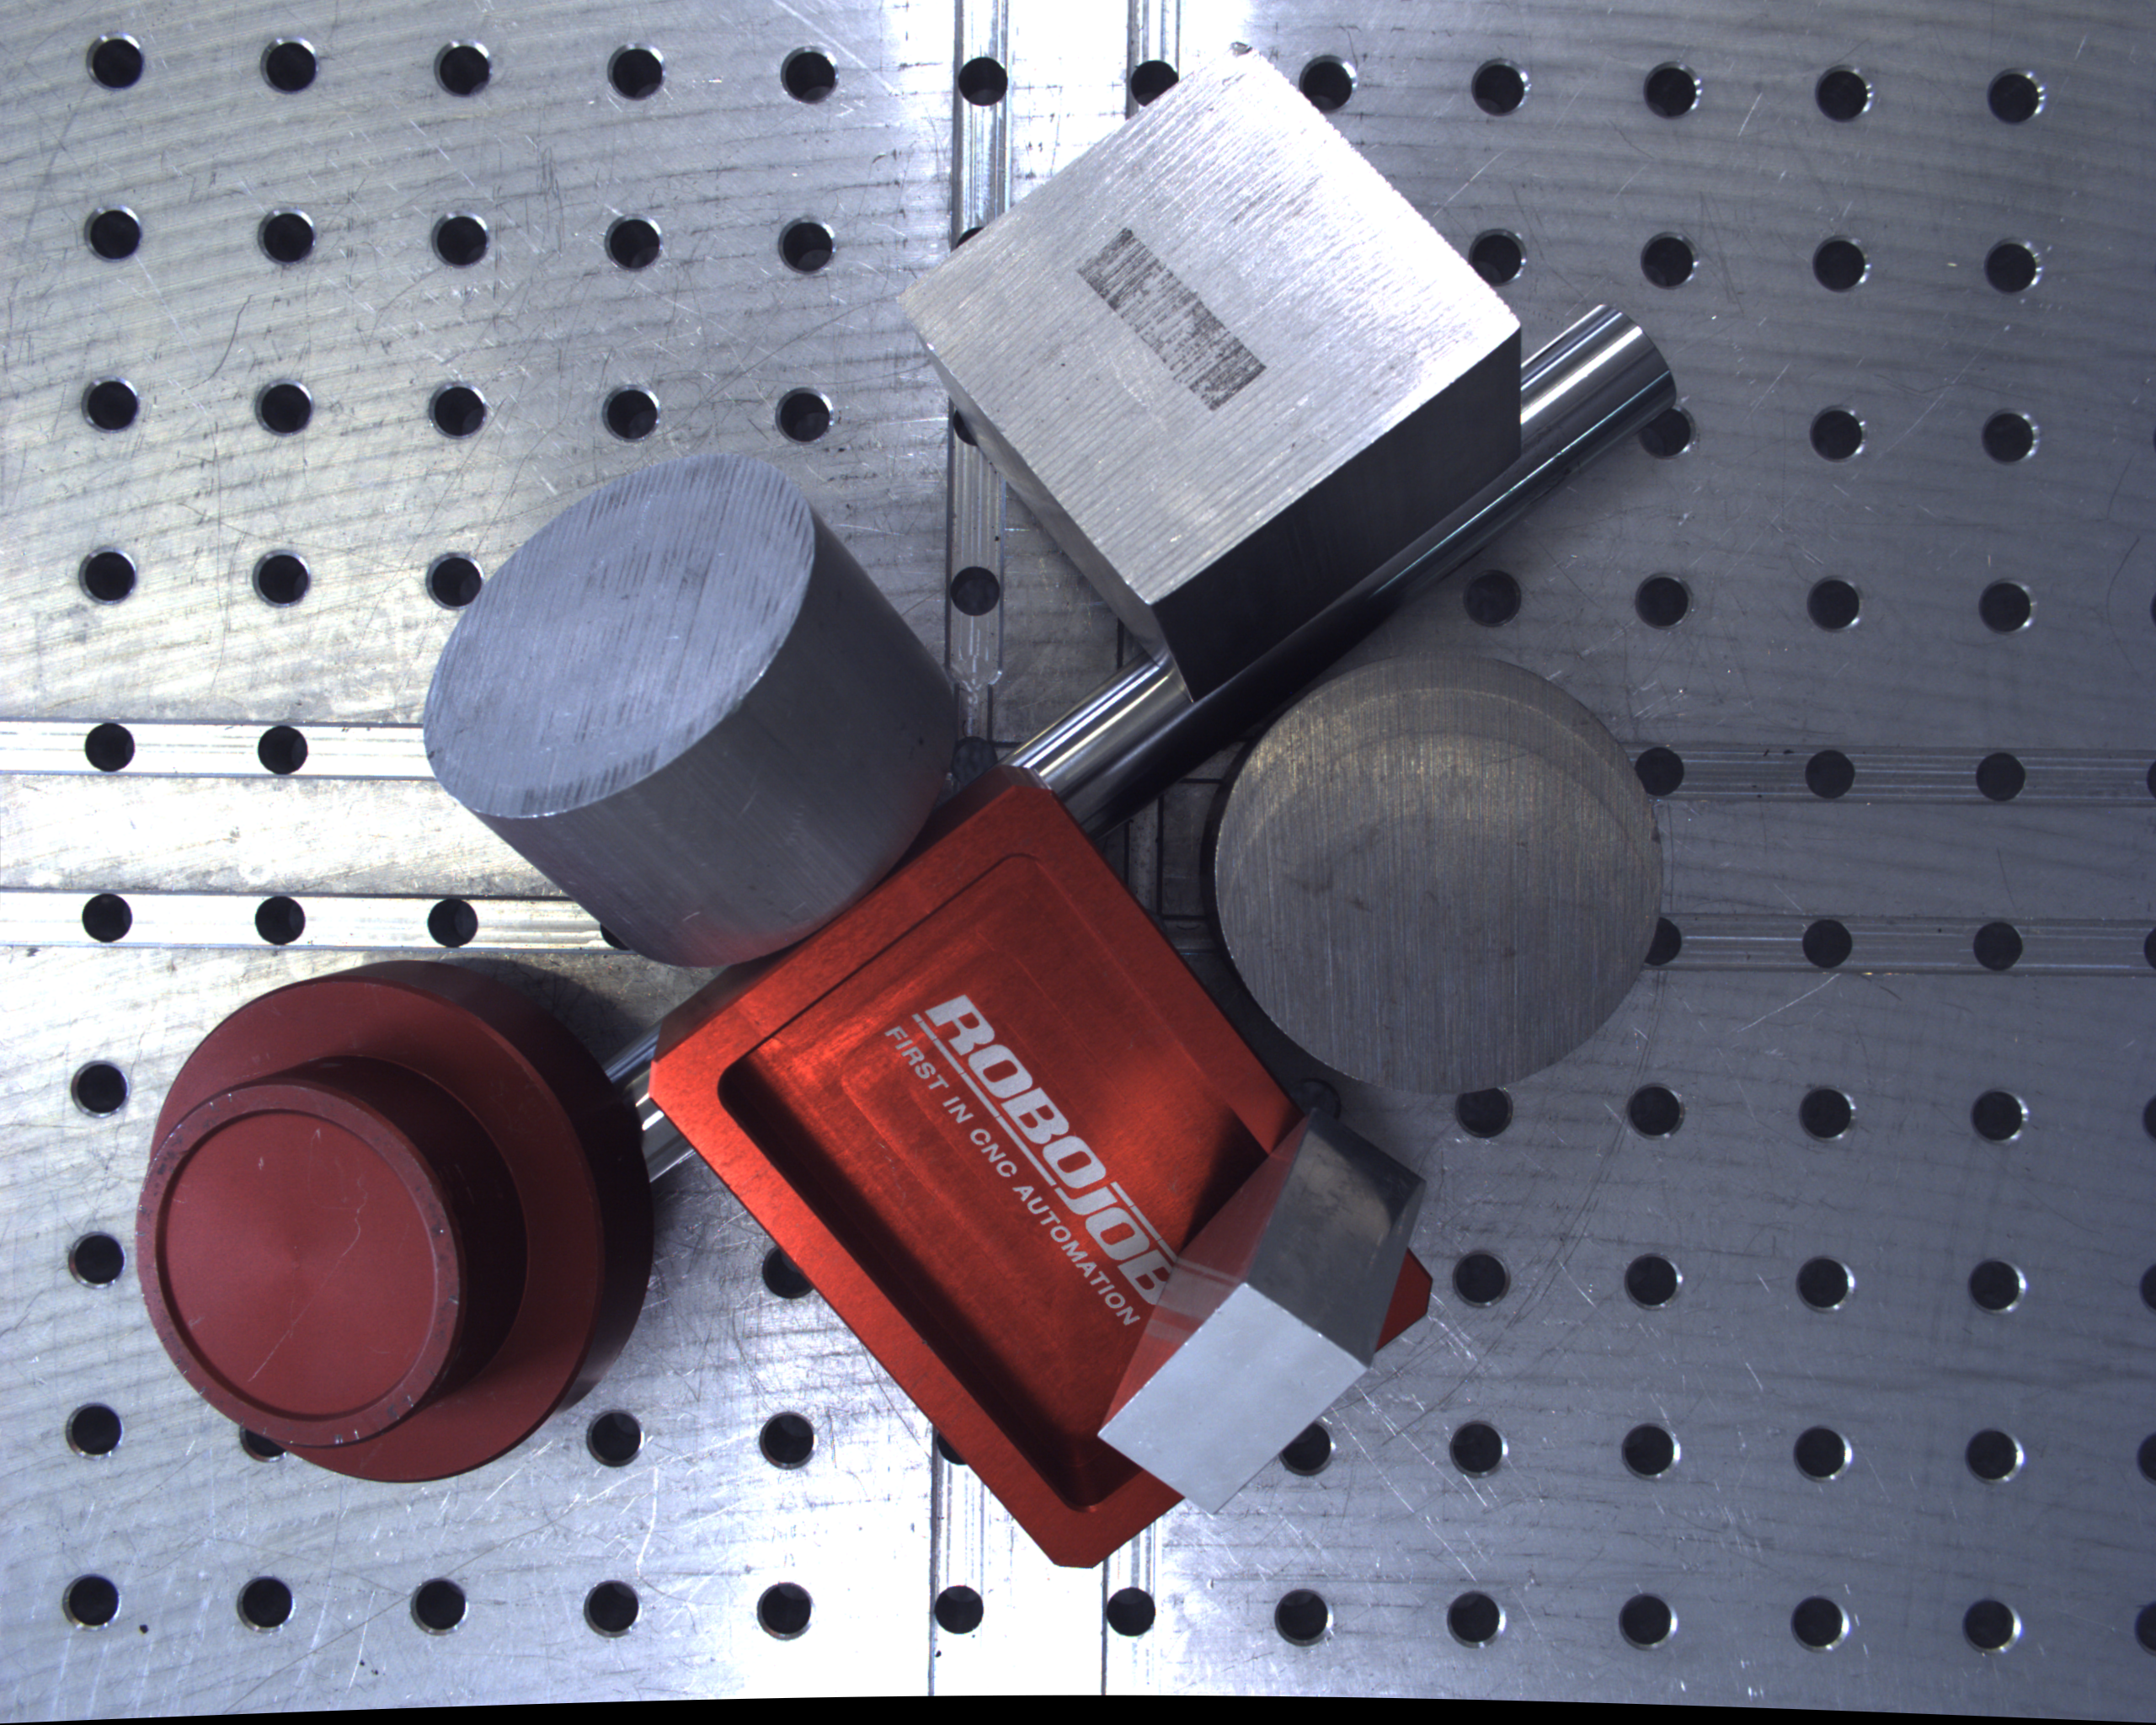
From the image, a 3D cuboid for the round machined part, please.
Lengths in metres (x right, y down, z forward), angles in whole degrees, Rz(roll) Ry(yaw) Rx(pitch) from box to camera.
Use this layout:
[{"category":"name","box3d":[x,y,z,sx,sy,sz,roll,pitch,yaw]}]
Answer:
[{"category":"round machined part","box3d":[-0.134,0.069,0.391,0.098,0.042,0.097,2,96,15]}]

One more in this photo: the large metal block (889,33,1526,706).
[{"category":"large metal block","box3d":[0.026,-0.090,0.389,0.080,0.050,0.080,-37,71,0]}]

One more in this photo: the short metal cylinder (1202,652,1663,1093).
[{"category":"short metal cylinder","box3d":[0.065,0.002,0.401,0.081,0.050,0.079,0,90,0]}]

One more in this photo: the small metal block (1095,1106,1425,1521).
[{"category":"small metal block","box3d":[0.033,0.080,0.372,0.025,0.050,0.050,35,125,-2]}]

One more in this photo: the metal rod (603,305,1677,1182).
[{"category":"metal rod","box3d":[-0.009,-0.009,0.415,0.300,0.025,0.025,-37,90,0]}]

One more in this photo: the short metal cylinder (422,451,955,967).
[{"category":"short metal cylinder","box3d":[-0.070,-0.028,0.380,0.080,0.050,0.080,-15,51,20]}]

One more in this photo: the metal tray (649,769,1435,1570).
[{"category":"metal tray","box3d":[-0.006,0.058,0.396,0.090,0.030,0.130,-38,103,0]}]
